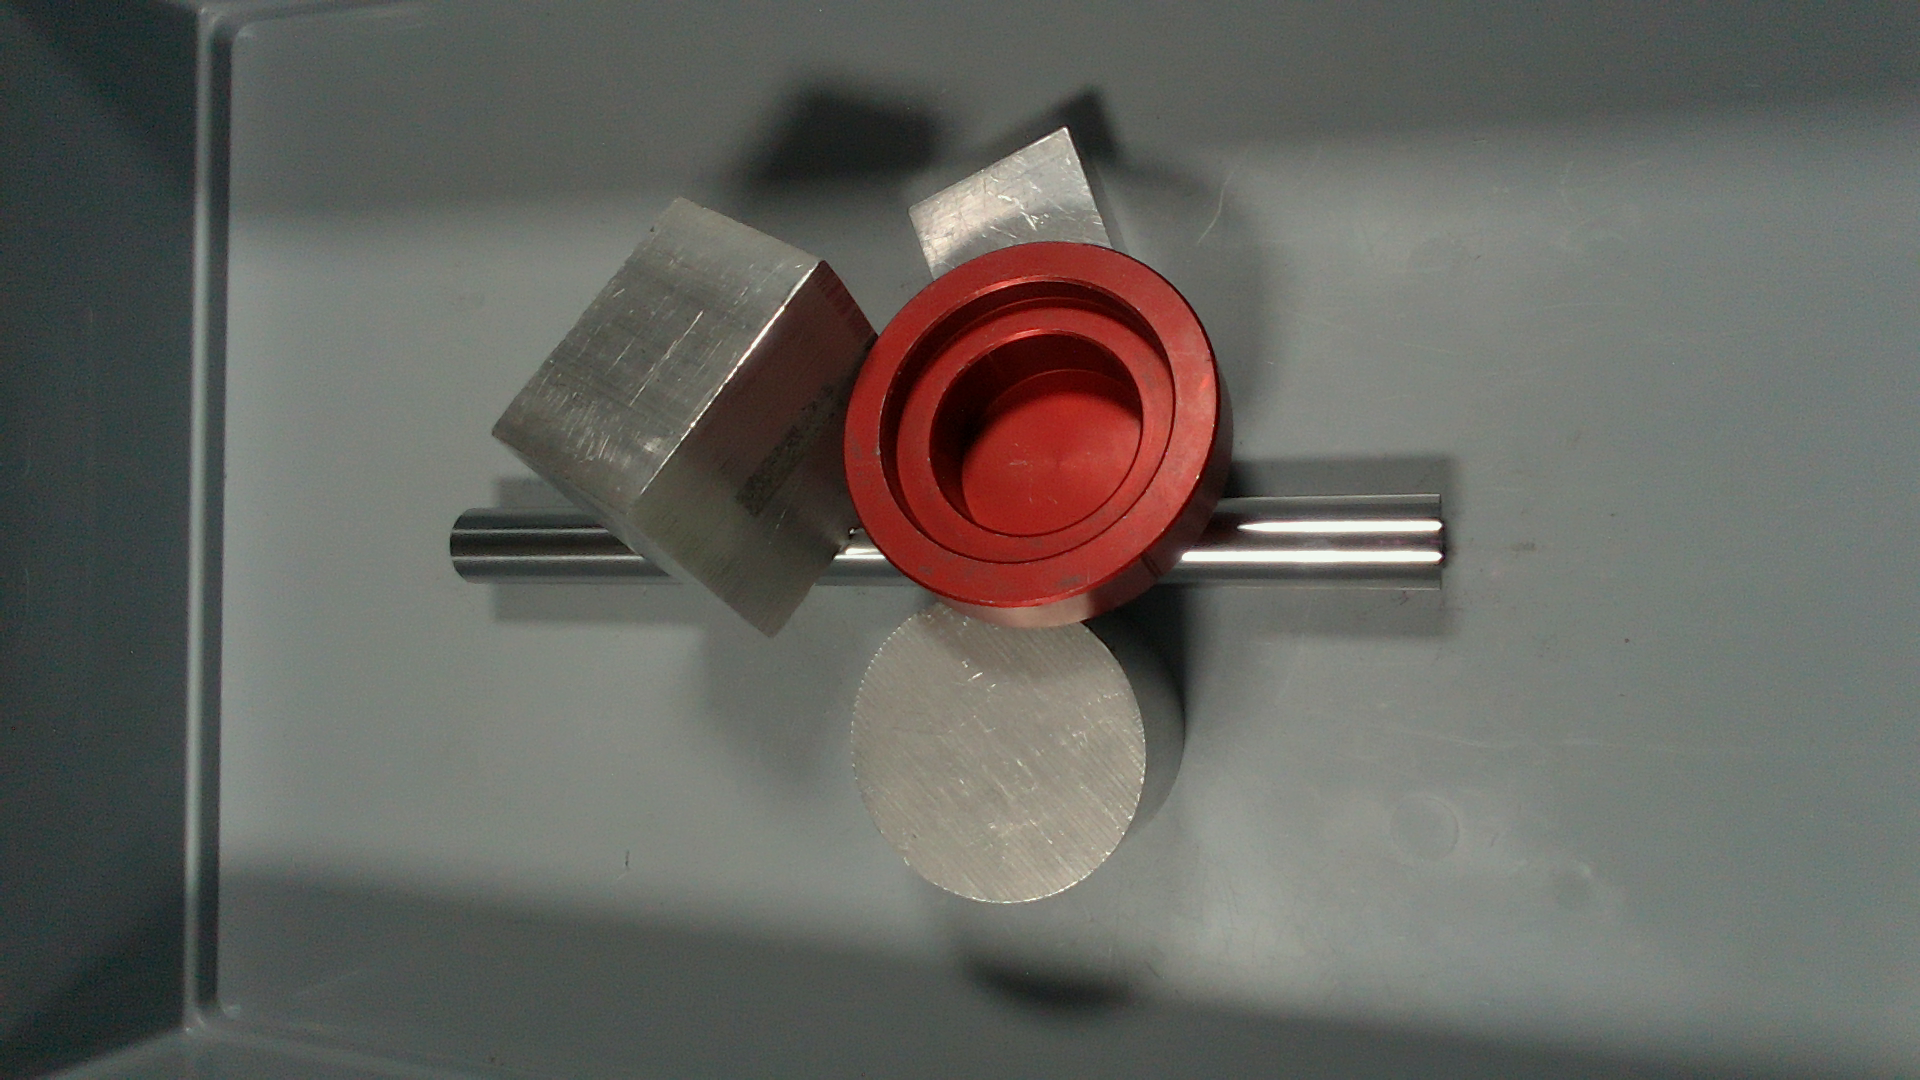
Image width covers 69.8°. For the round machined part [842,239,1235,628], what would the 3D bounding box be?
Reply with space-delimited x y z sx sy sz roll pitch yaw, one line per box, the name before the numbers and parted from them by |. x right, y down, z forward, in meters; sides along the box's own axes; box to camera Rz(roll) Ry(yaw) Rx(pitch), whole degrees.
round machined part | 0.022 -0.024 0.357 0.098 0.042 0.098 -6 70 18

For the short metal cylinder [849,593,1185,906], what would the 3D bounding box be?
short metal cylinder | 0.017 0.053 0.375 0.080 0.050 0.080 0 90 20

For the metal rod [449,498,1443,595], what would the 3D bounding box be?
metal rod | -0.018 0.002 0.400 0.299 0.025 0.025 0 90 20

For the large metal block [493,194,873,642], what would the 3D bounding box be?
large metal block | -0.062 -0.031 0.372 0.050 0.080 0.080 28 77 29

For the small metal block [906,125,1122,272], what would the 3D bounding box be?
small metal block | 0.019 -0.080 0.388 0.050 0.025 0.050 -22 83 19
